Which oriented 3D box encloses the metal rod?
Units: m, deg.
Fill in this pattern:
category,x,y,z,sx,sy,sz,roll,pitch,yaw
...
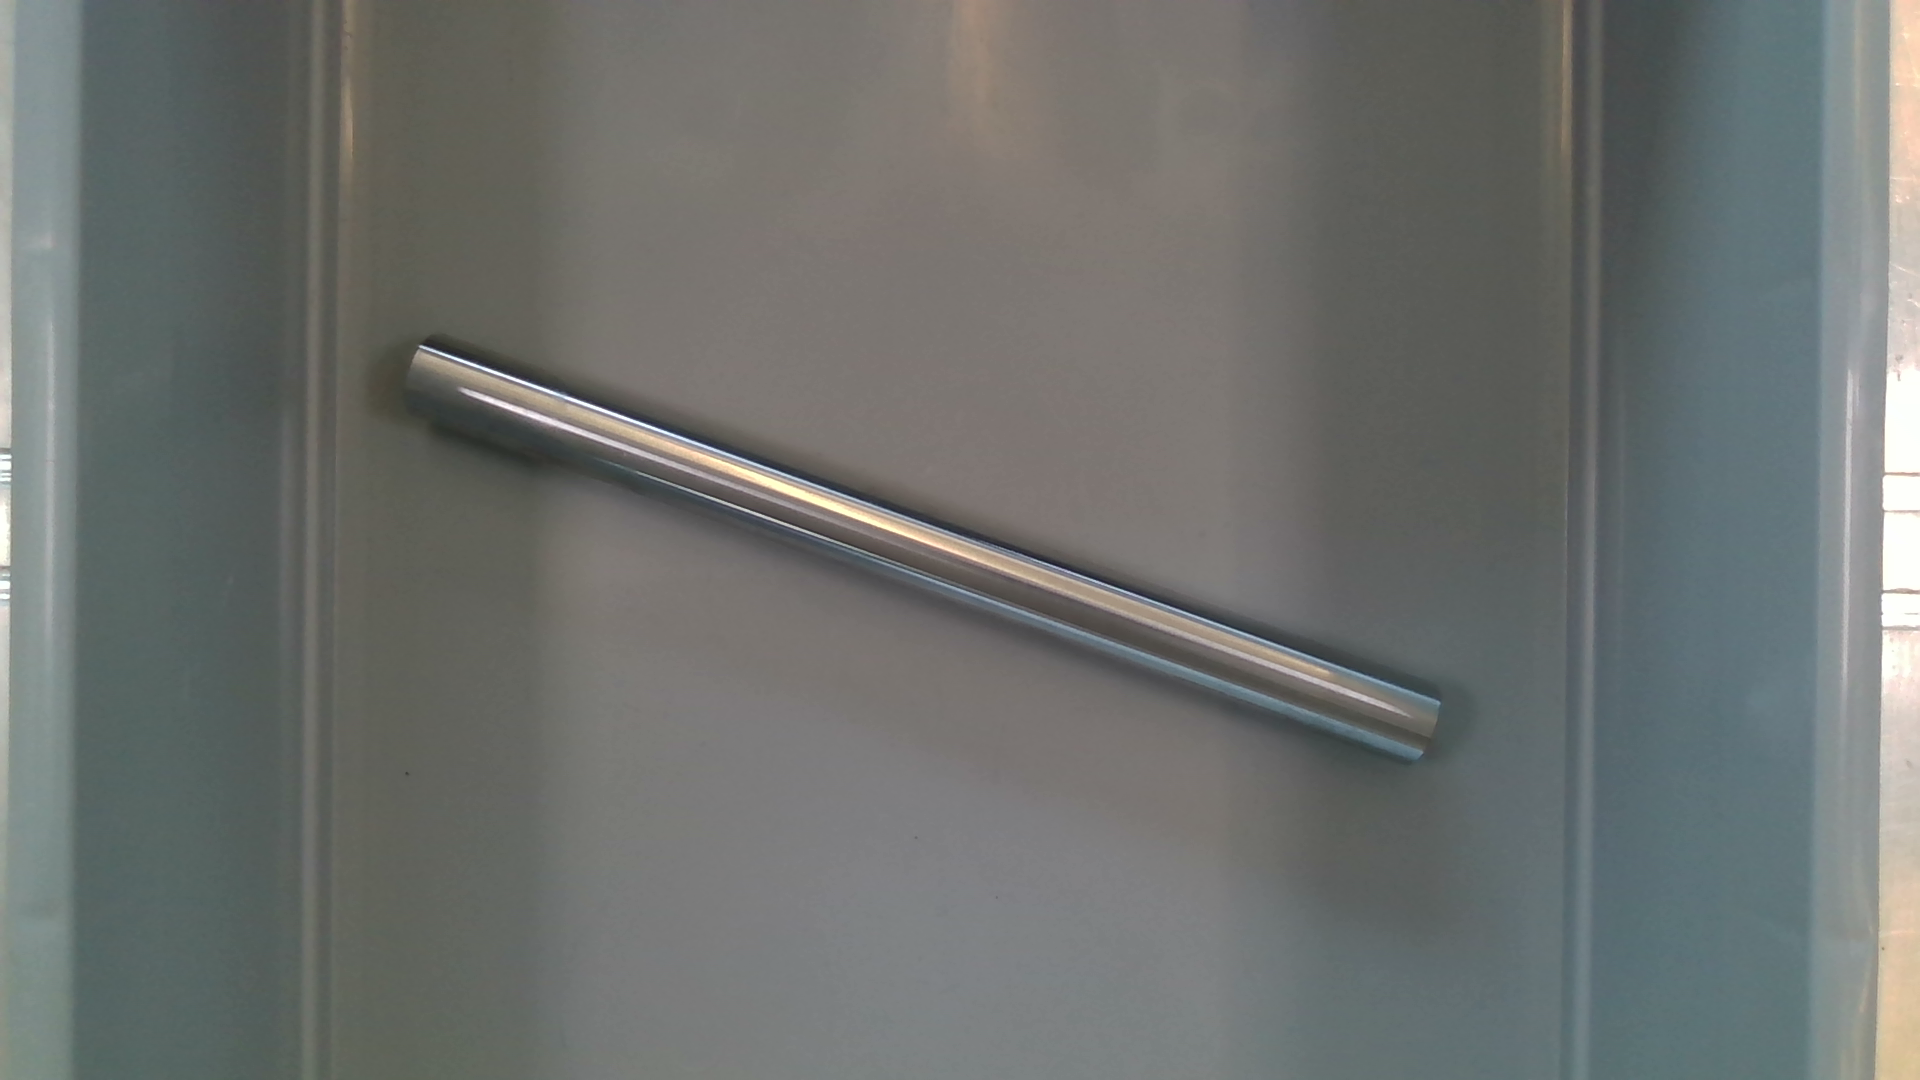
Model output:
category,x,y,z,sx,sy,sz,roll,pitch,yaw
metal rod,-0.011,0.001,0.393,0.300,0.025,0.025,20,90,0
